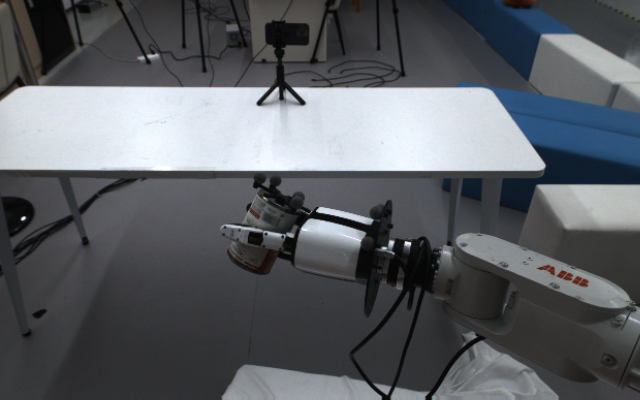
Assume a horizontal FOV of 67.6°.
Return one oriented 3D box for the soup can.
[{"bbox_3d":[-0.078,0.046,0.679,0.067,0.101,0.067,27,10,-5],"label":"soup can"}]
